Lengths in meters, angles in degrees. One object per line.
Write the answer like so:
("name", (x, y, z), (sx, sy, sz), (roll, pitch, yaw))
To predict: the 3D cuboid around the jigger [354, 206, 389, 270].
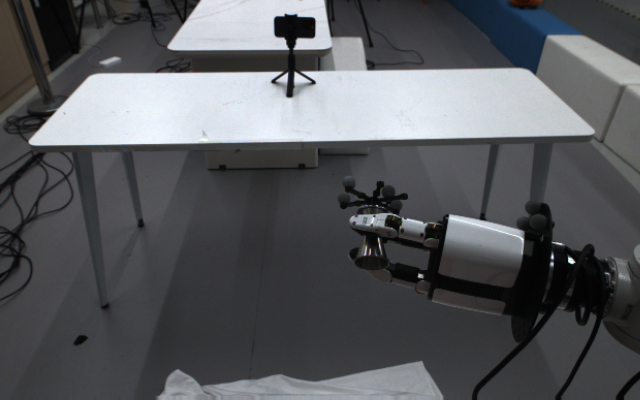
("jigger", (0.062, 0.043, 0.586), (0.043, 0.043, 0.071), (4, 61, 3))
